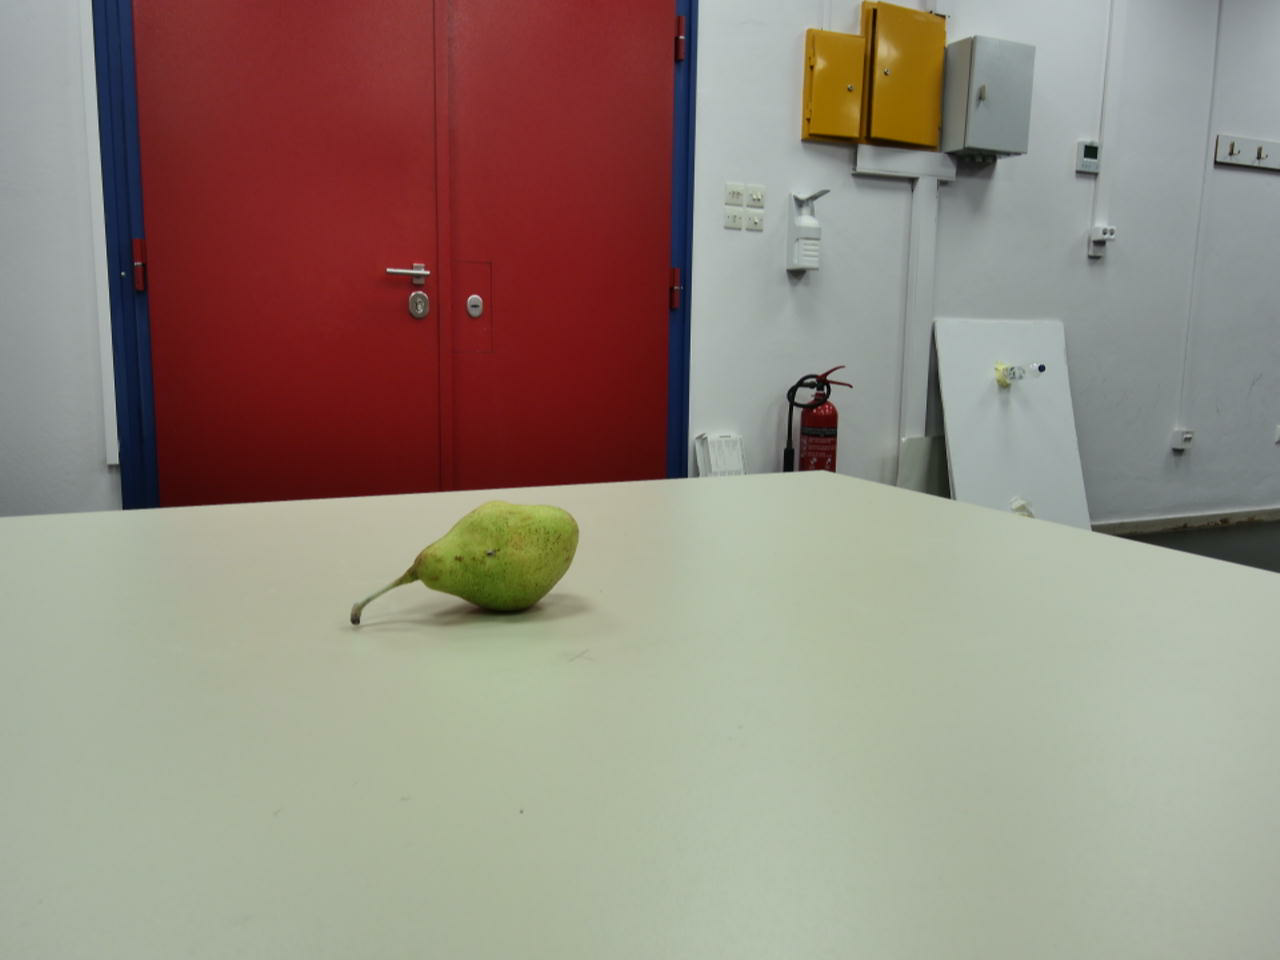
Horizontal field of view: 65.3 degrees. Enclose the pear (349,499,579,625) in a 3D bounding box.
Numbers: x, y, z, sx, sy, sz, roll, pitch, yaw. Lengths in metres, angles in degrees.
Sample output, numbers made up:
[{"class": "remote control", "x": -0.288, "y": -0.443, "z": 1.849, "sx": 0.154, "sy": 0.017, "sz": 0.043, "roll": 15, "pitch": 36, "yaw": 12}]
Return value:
[{"class": "pear", "x": -0.087, "y": 0.039, "z": 0.505, "sx": 0.111, "sy": 0.056, "sz": 0.056, "roll": -1, "pitch": 6, "yaw": -10}]
